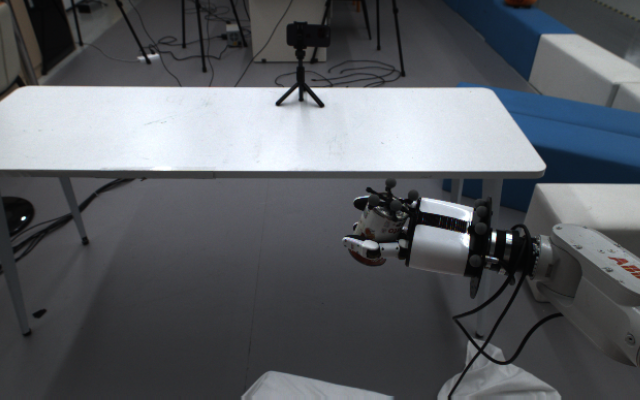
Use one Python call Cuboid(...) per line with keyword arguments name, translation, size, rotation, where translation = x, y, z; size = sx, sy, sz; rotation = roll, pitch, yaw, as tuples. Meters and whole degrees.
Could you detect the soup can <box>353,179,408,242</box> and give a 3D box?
Cuboid(name="soup can", translation=(0.093, 0.046, 0.768), size=(0.067, 0.101, 0.067), rotation=(14, 35, -10))
